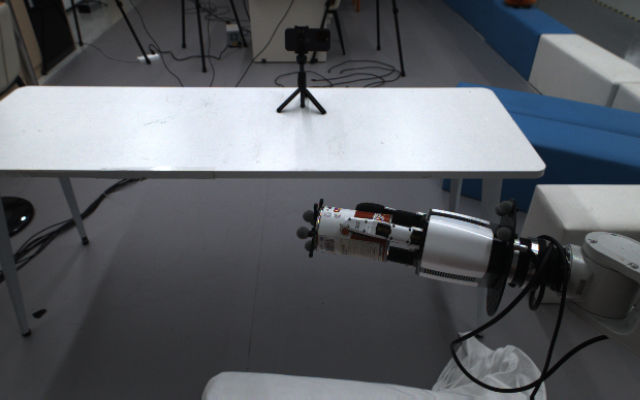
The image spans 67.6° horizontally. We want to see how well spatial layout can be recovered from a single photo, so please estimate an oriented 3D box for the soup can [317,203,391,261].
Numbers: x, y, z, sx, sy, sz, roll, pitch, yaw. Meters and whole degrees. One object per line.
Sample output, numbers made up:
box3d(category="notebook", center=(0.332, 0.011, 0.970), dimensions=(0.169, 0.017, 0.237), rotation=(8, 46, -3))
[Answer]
box3d(category="soup can", center=(0.051, 0.047, 0.688), dimensions=(0.101, 0.067, 0.067), rotation=(7, 35, 10))
